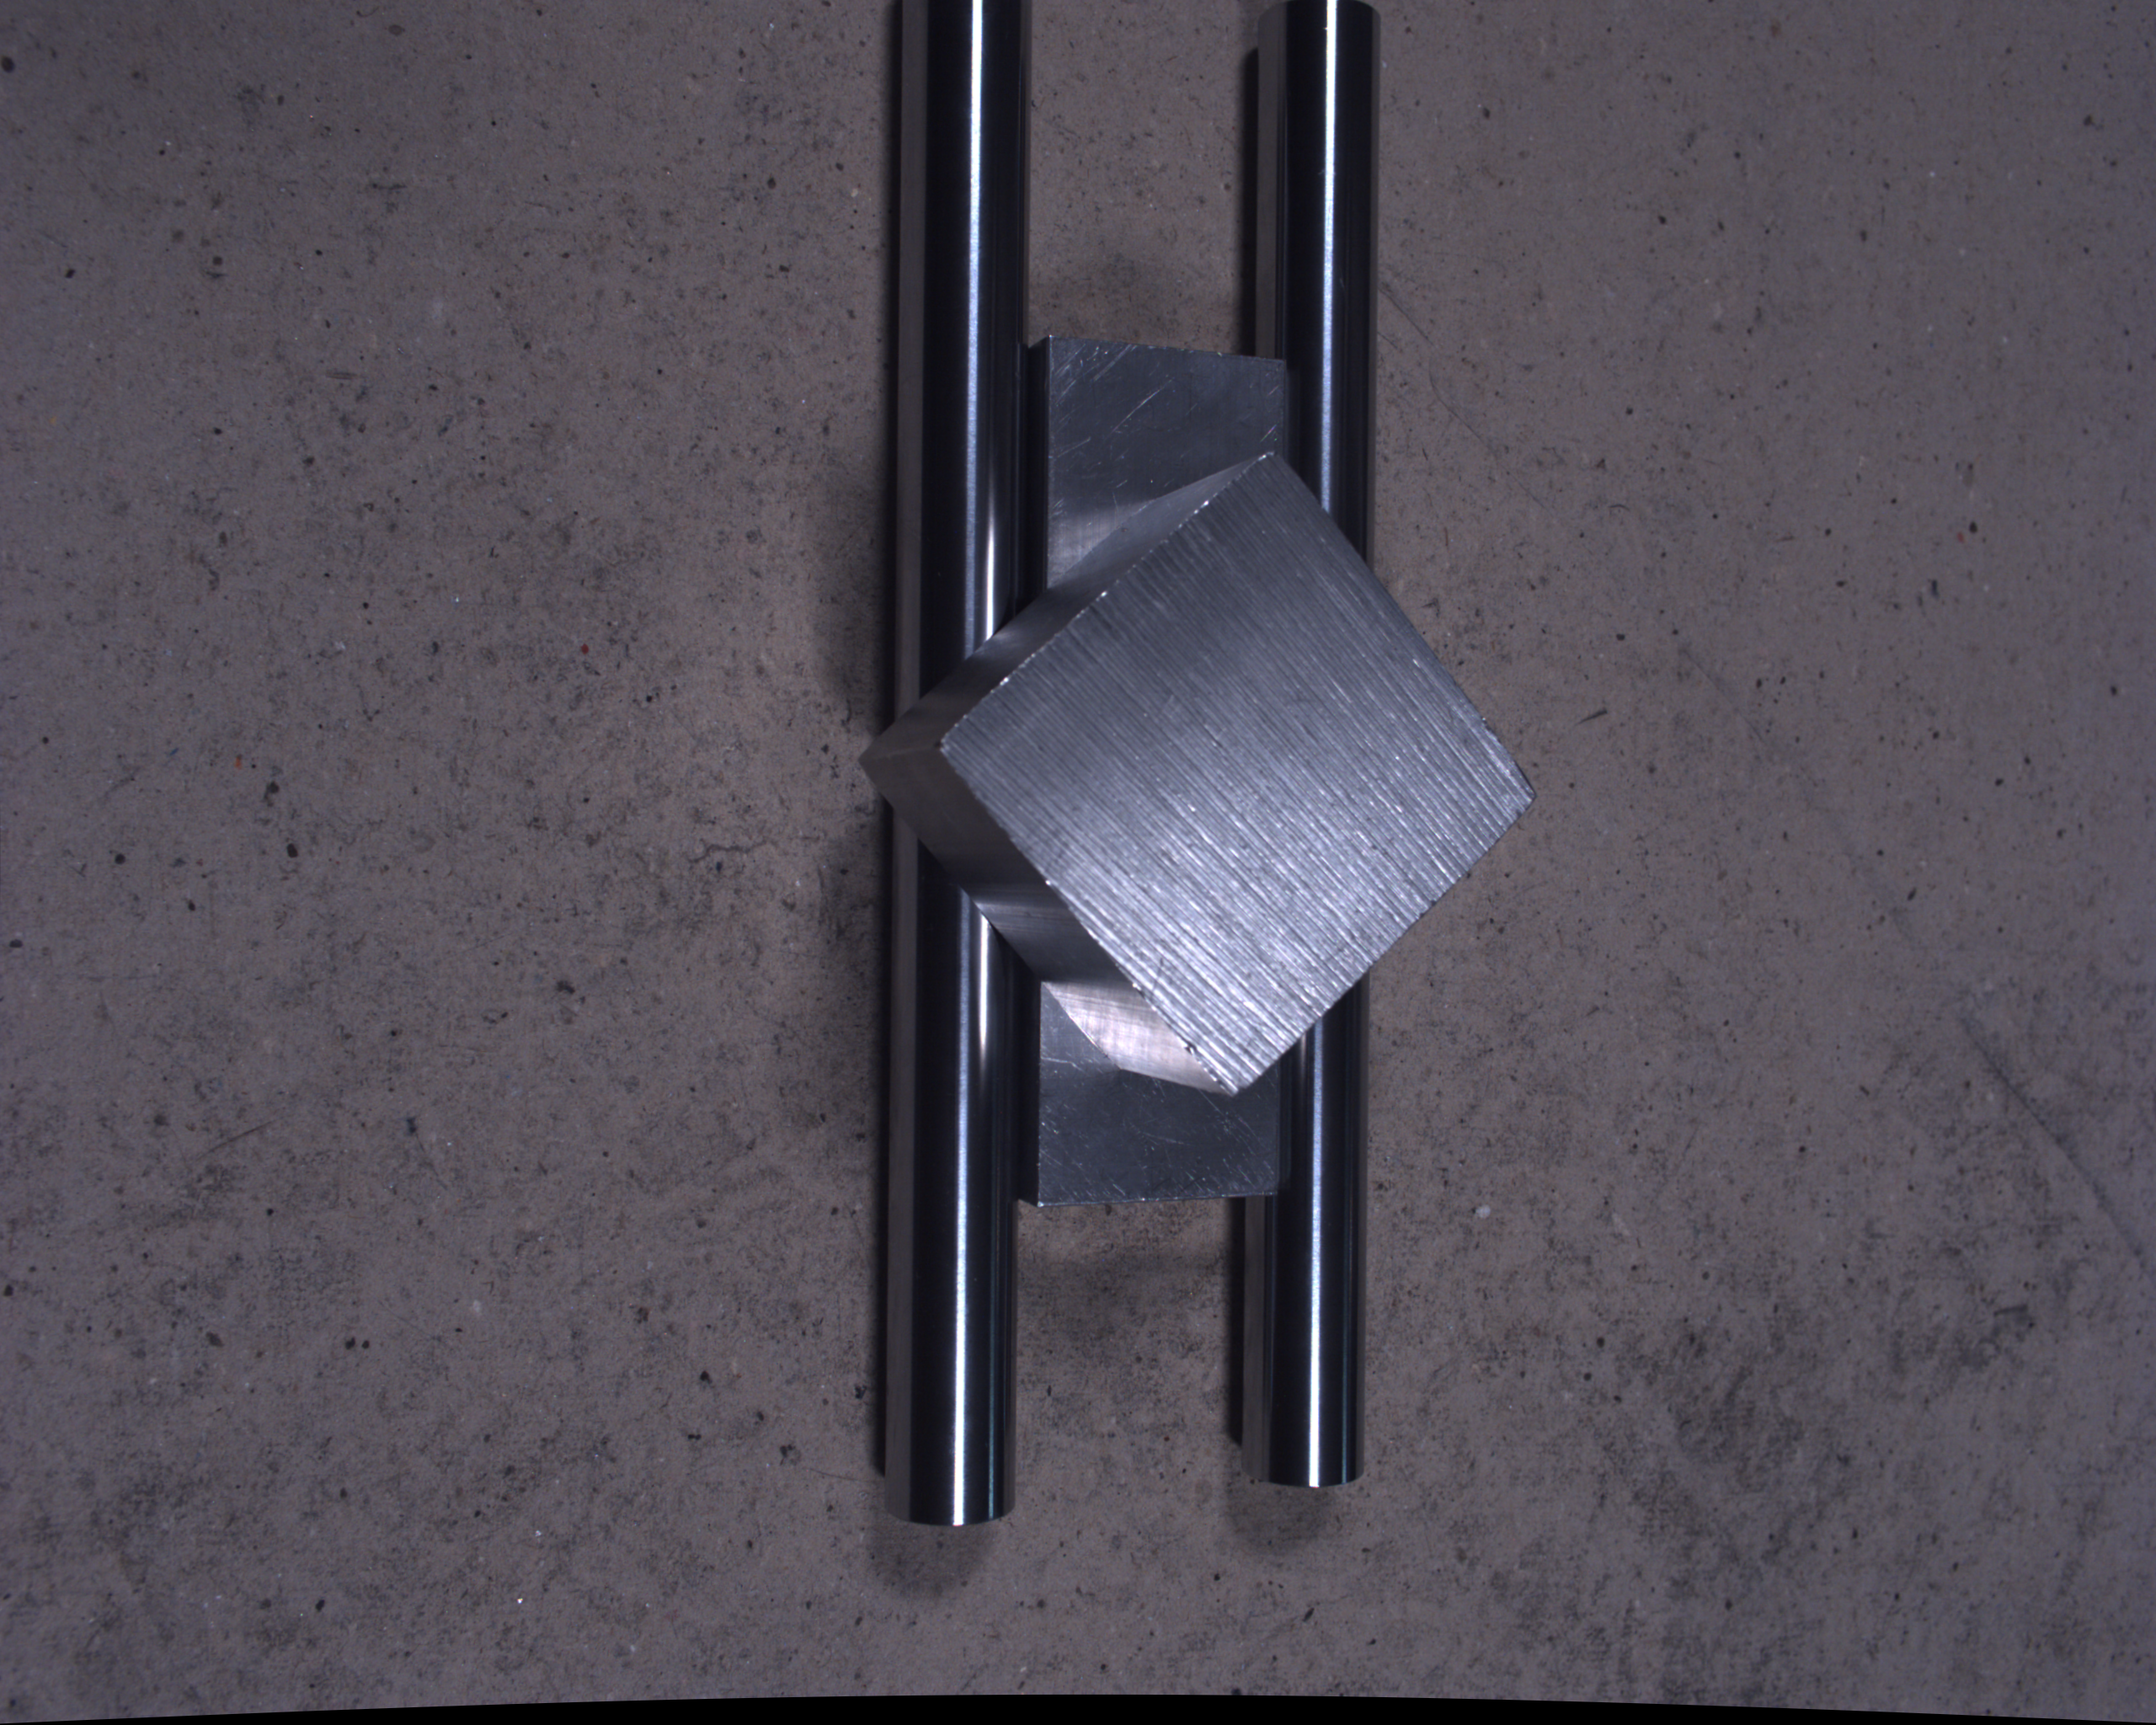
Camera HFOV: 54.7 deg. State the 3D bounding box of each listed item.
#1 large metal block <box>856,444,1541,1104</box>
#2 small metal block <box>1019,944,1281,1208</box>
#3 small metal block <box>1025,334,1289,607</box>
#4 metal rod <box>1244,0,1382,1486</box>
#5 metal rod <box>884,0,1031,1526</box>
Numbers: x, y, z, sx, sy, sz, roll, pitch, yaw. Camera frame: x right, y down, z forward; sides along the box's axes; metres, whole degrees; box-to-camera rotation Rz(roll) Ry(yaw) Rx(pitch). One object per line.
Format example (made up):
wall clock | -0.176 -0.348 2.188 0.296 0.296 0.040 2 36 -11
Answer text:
large metal block | 0.021 -0.015 0.377 0.080 0.050 0.080 -43 104 -15
small metal block | 0.012 0.041 0.415 0.050 0.025 0.050 1 90 -21
small metal block | 0.013 -0.075 0.415 0.050 0.025 0.050 1 90 -21
metal rod | 0.048 -0.024 0.430 0.025 0.025 0.298 1 90 -20
metal rod | -0.023 -0.025 0.403 0.025 0.025 0.298 1 90 -20
